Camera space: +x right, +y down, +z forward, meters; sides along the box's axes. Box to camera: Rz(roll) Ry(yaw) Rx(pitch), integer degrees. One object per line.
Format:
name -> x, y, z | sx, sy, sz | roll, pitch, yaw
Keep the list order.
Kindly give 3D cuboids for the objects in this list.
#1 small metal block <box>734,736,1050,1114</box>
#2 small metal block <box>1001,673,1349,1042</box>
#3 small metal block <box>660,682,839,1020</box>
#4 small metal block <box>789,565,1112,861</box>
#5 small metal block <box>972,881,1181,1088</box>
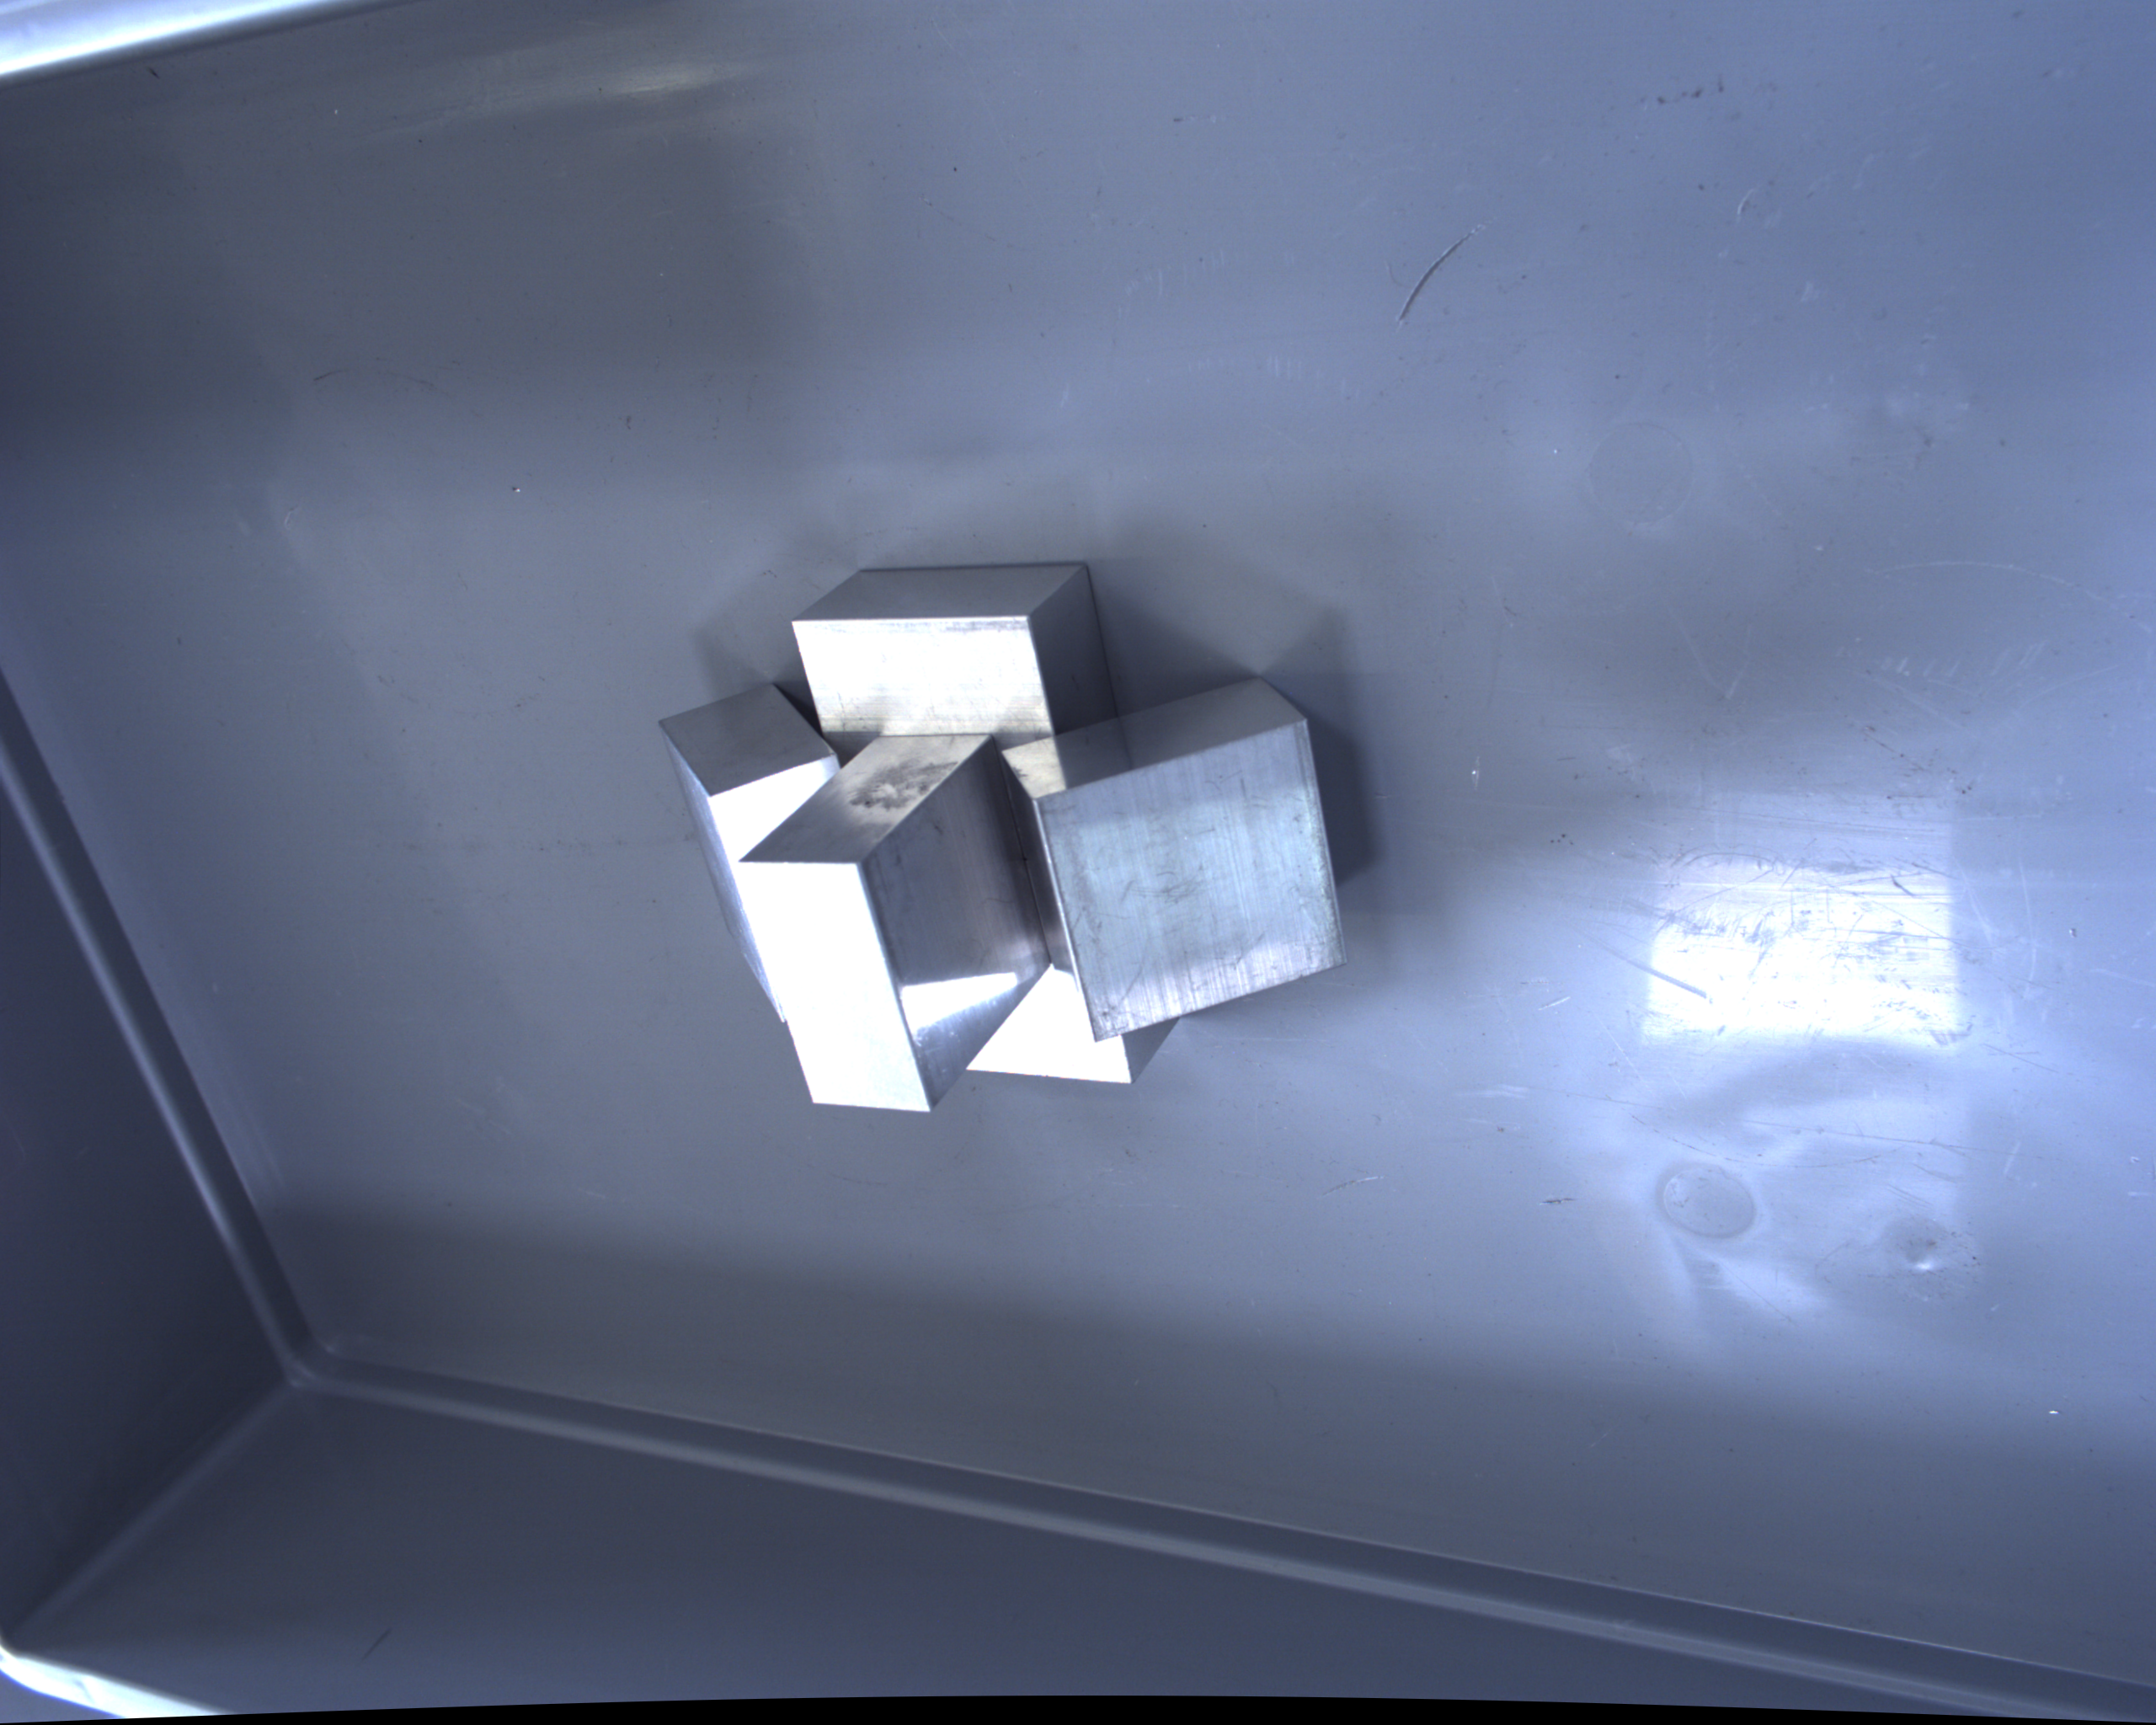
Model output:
small metal block -> -0.032, 0.010, 0.380 | 0.025, 0.050, 0.050 | 0, 119, 27
small metal block -> 0.018, -0.001, 0.381 | 0.050, 0.025, 0.050 | -17, 117, -8
small metal block -> -0.060, -0.003, 0.419 | 0.050, 0.025, 0.050 | -137, 29, -60
small metal block -> -0.022, -0.028, 0.399 | 0.050, 0.025, 0.050 | 2, 120, 26
small metal block -> -0.011, 0.016, 0.421 | 0.050, 0.025, 0.050 | 3, 120, 27
